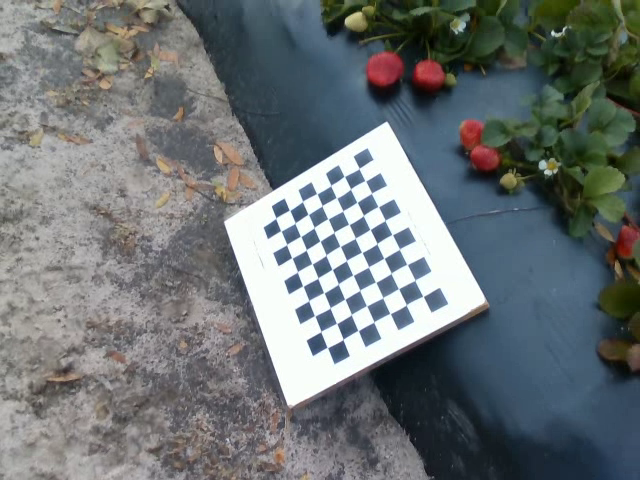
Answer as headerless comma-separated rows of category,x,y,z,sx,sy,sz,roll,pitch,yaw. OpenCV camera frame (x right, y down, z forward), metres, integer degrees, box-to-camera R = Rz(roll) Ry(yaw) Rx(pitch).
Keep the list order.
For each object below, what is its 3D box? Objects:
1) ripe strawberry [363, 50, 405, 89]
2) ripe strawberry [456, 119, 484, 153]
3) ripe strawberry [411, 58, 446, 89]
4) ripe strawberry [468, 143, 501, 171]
ripe strawberry,0.092,-0.243,0.900,0.059,0.065,0.043,-5,-37,30
ripe strawberry,0.209,-0.141,0.835,0.053,0.047,0.038,38,7,0
ripe strawberry,0.158,-0.236,0.895,0.050,0.051,0.059,-11,18,29
ripe strawberry,0.216,-0.109,0.805,0.049,0.043,0.041,1,-42,-41
